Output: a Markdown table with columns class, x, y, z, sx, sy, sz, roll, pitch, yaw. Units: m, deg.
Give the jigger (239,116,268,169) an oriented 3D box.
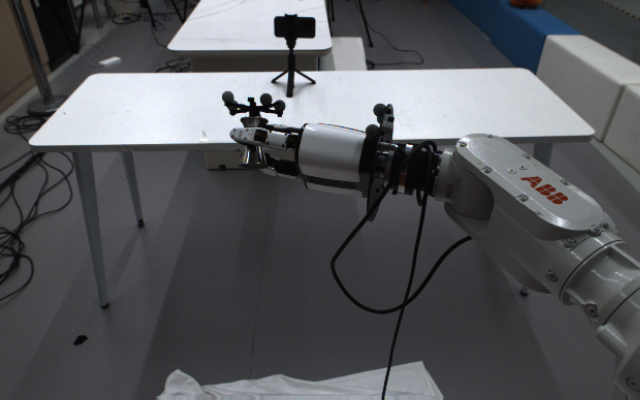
| class | x | y | z | sx | sy | sz | roll | pitch | yaw |
| --- | --- | --- | --- | --- | --- | --- | --- | --- | --- |
| jigger | -0.096 | -0.081 | 0.692 | 0.043 | 0.071 | 0.043 | 1 | -5 | 0 |
